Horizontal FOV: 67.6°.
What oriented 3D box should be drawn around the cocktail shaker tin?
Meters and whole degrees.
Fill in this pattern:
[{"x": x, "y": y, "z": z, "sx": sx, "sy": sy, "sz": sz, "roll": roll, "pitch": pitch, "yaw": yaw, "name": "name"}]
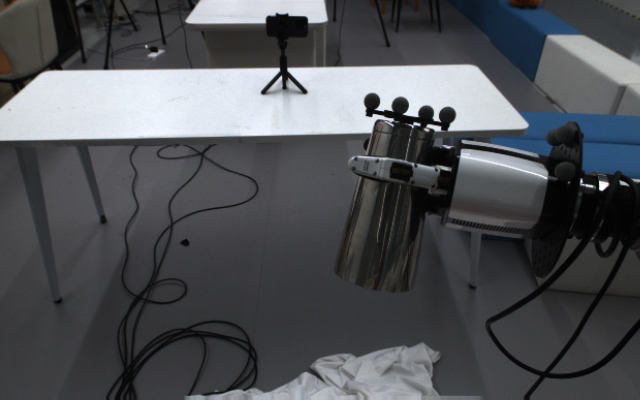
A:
[{"x": 0.079, "y": 0.001, "z": 0.530, "sx": 0.093, "sy": 0.170, "sz": 0.093, "roll": 10, "pitch": 9, "yaw": -2, "name": "cocktail shaker tin"}]
